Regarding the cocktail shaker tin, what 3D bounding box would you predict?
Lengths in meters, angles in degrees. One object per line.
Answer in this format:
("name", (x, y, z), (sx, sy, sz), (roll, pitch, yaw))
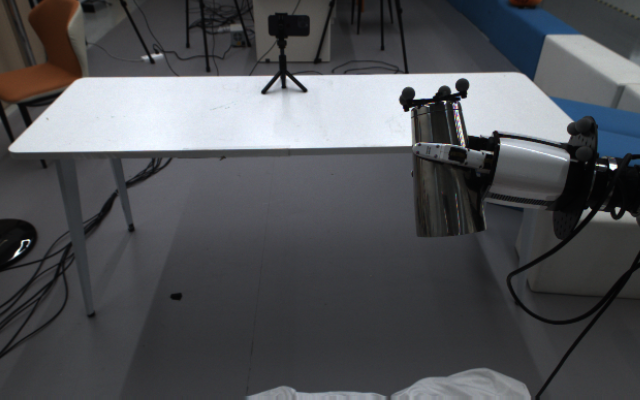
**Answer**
("cocktail shaker tin", (0.165, -0.042, 0.649), (0.093, 0.170, 0.093), (-8, 1, 0))
